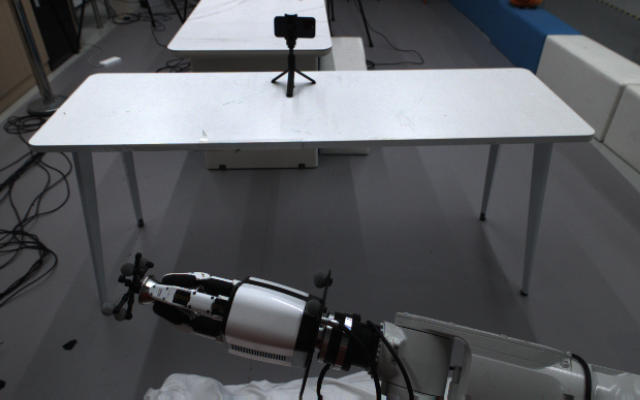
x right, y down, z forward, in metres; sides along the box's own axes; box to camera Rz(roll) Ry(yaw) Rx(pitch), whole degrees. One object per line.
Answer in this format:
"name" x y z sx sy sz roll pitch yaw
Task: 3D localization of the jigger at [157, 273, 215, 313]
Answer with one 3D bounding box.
"jigger" -0.178 0.117 0.606 0.071 0.043 0.043 13 36 4
